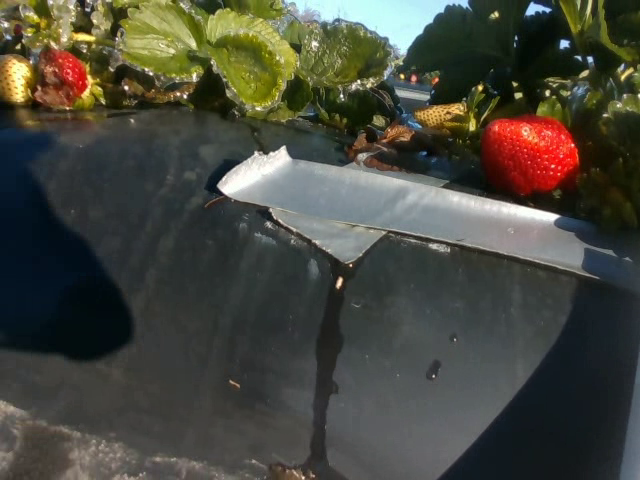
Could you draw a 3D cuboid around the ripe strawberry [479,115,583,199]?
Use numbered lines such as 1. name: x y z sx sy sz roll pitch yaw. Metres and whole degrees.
1. ripe strawberry: 0.113 -0.049 0.363 0.065 0.058 0.062 19 29 -56
